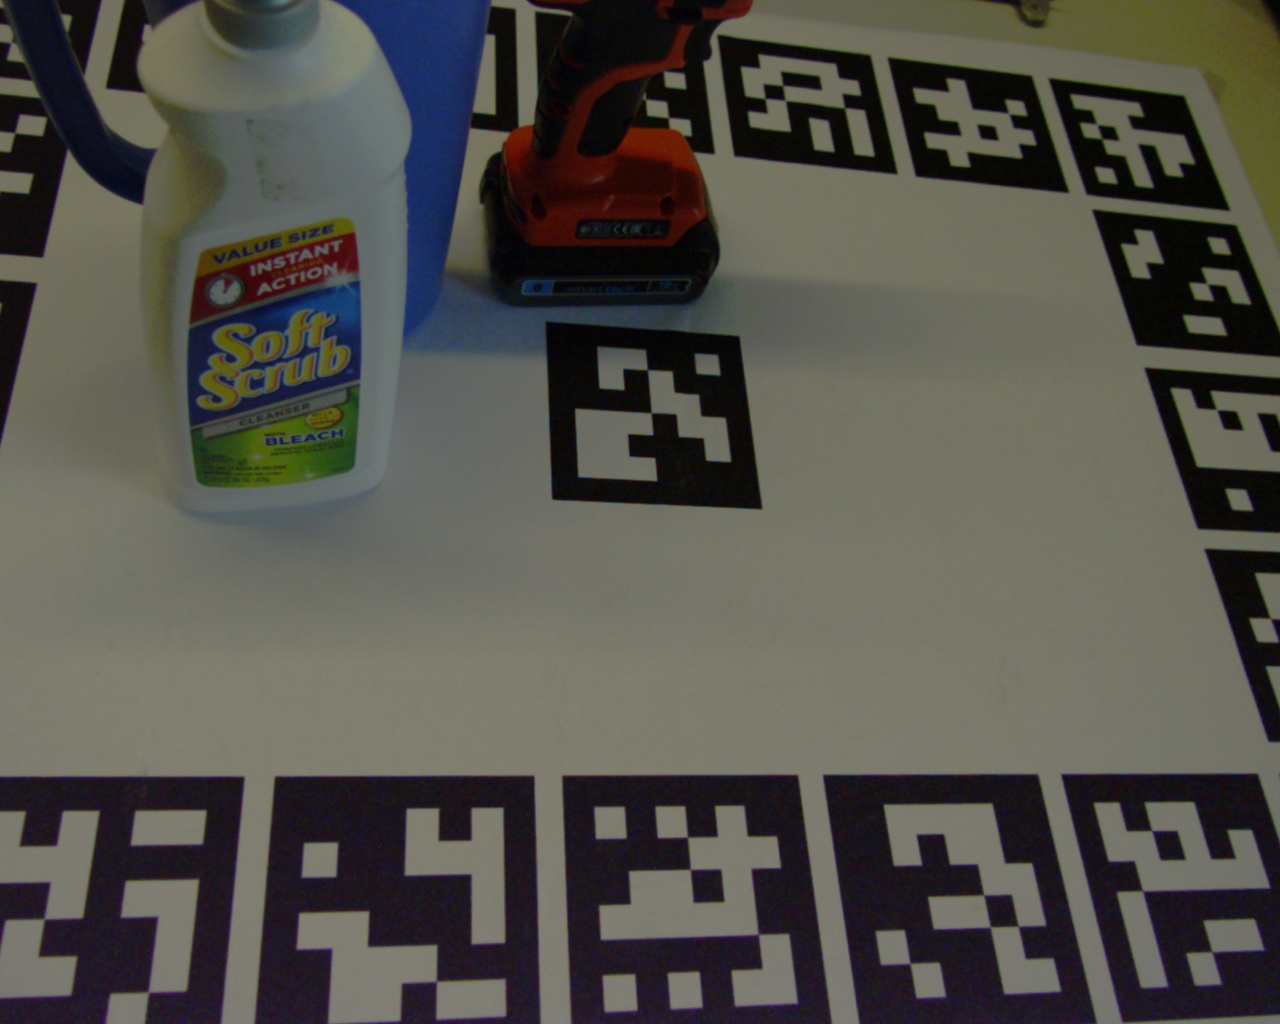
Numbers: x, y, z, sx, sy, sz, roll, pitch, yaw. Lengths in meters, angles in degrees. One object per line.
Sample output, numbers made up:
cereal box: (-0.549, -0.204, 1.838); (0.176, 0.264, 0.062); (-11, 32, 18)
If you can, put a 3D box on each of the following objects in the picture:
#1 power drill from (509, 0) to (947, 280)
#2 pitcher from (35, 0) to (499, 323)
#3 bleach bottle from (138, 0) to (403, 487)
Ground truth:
power drill: (0.022, -0.182, 0.528); (0.183, 0.188, 0.057); (0, 67, -19)
pitcher: (-0.138, -0.177, 0.479); (0.187, 0.243, 0.134); (-24, 73, -22)
bleach bottle: (-0.139, -0.095, 0.414); (0.102, 0.251, 0.068); (-5, 65, -15)
